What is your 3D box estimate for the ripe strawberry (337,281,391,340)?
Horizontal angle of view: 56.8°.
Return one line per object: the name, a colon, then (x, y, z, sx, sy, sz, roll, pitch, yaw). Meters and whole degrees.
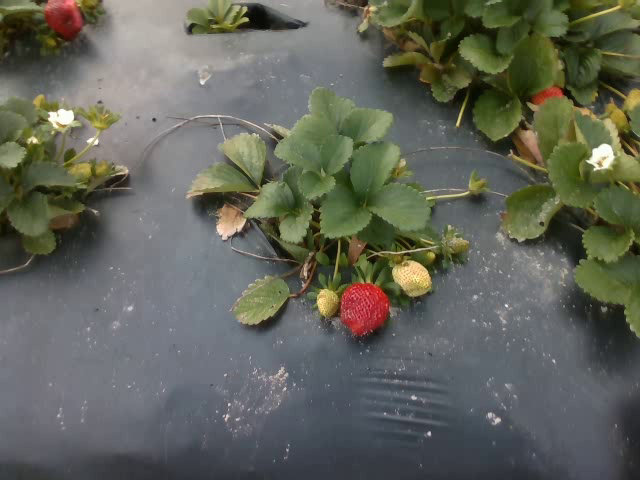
ripe strawberry: (0.036, 0.062, 0.483, 0.046, 0.046, 0.059, 1, 29, 14)
